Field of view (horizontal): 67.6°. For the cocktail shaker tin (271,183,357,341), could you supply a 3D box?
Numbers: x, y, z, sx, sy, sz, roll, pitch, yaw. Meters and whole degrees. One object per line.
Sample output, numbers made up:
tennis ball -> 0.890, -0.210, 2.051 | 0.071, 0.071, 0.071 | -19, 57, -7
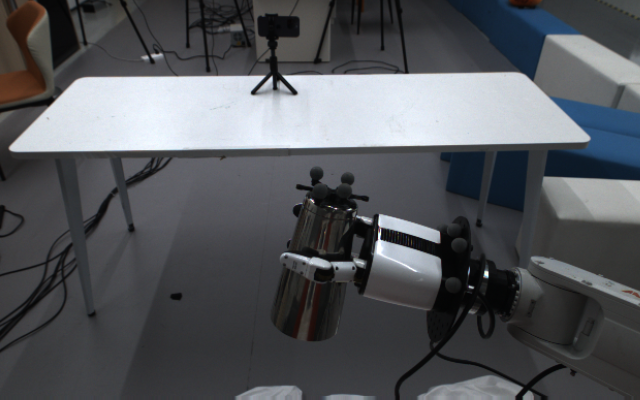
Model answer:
cocktail shaker tin -> -0.001, 0.078, 0.606 | 0.093, 0.170, 0.093 | 11, 19, -4
